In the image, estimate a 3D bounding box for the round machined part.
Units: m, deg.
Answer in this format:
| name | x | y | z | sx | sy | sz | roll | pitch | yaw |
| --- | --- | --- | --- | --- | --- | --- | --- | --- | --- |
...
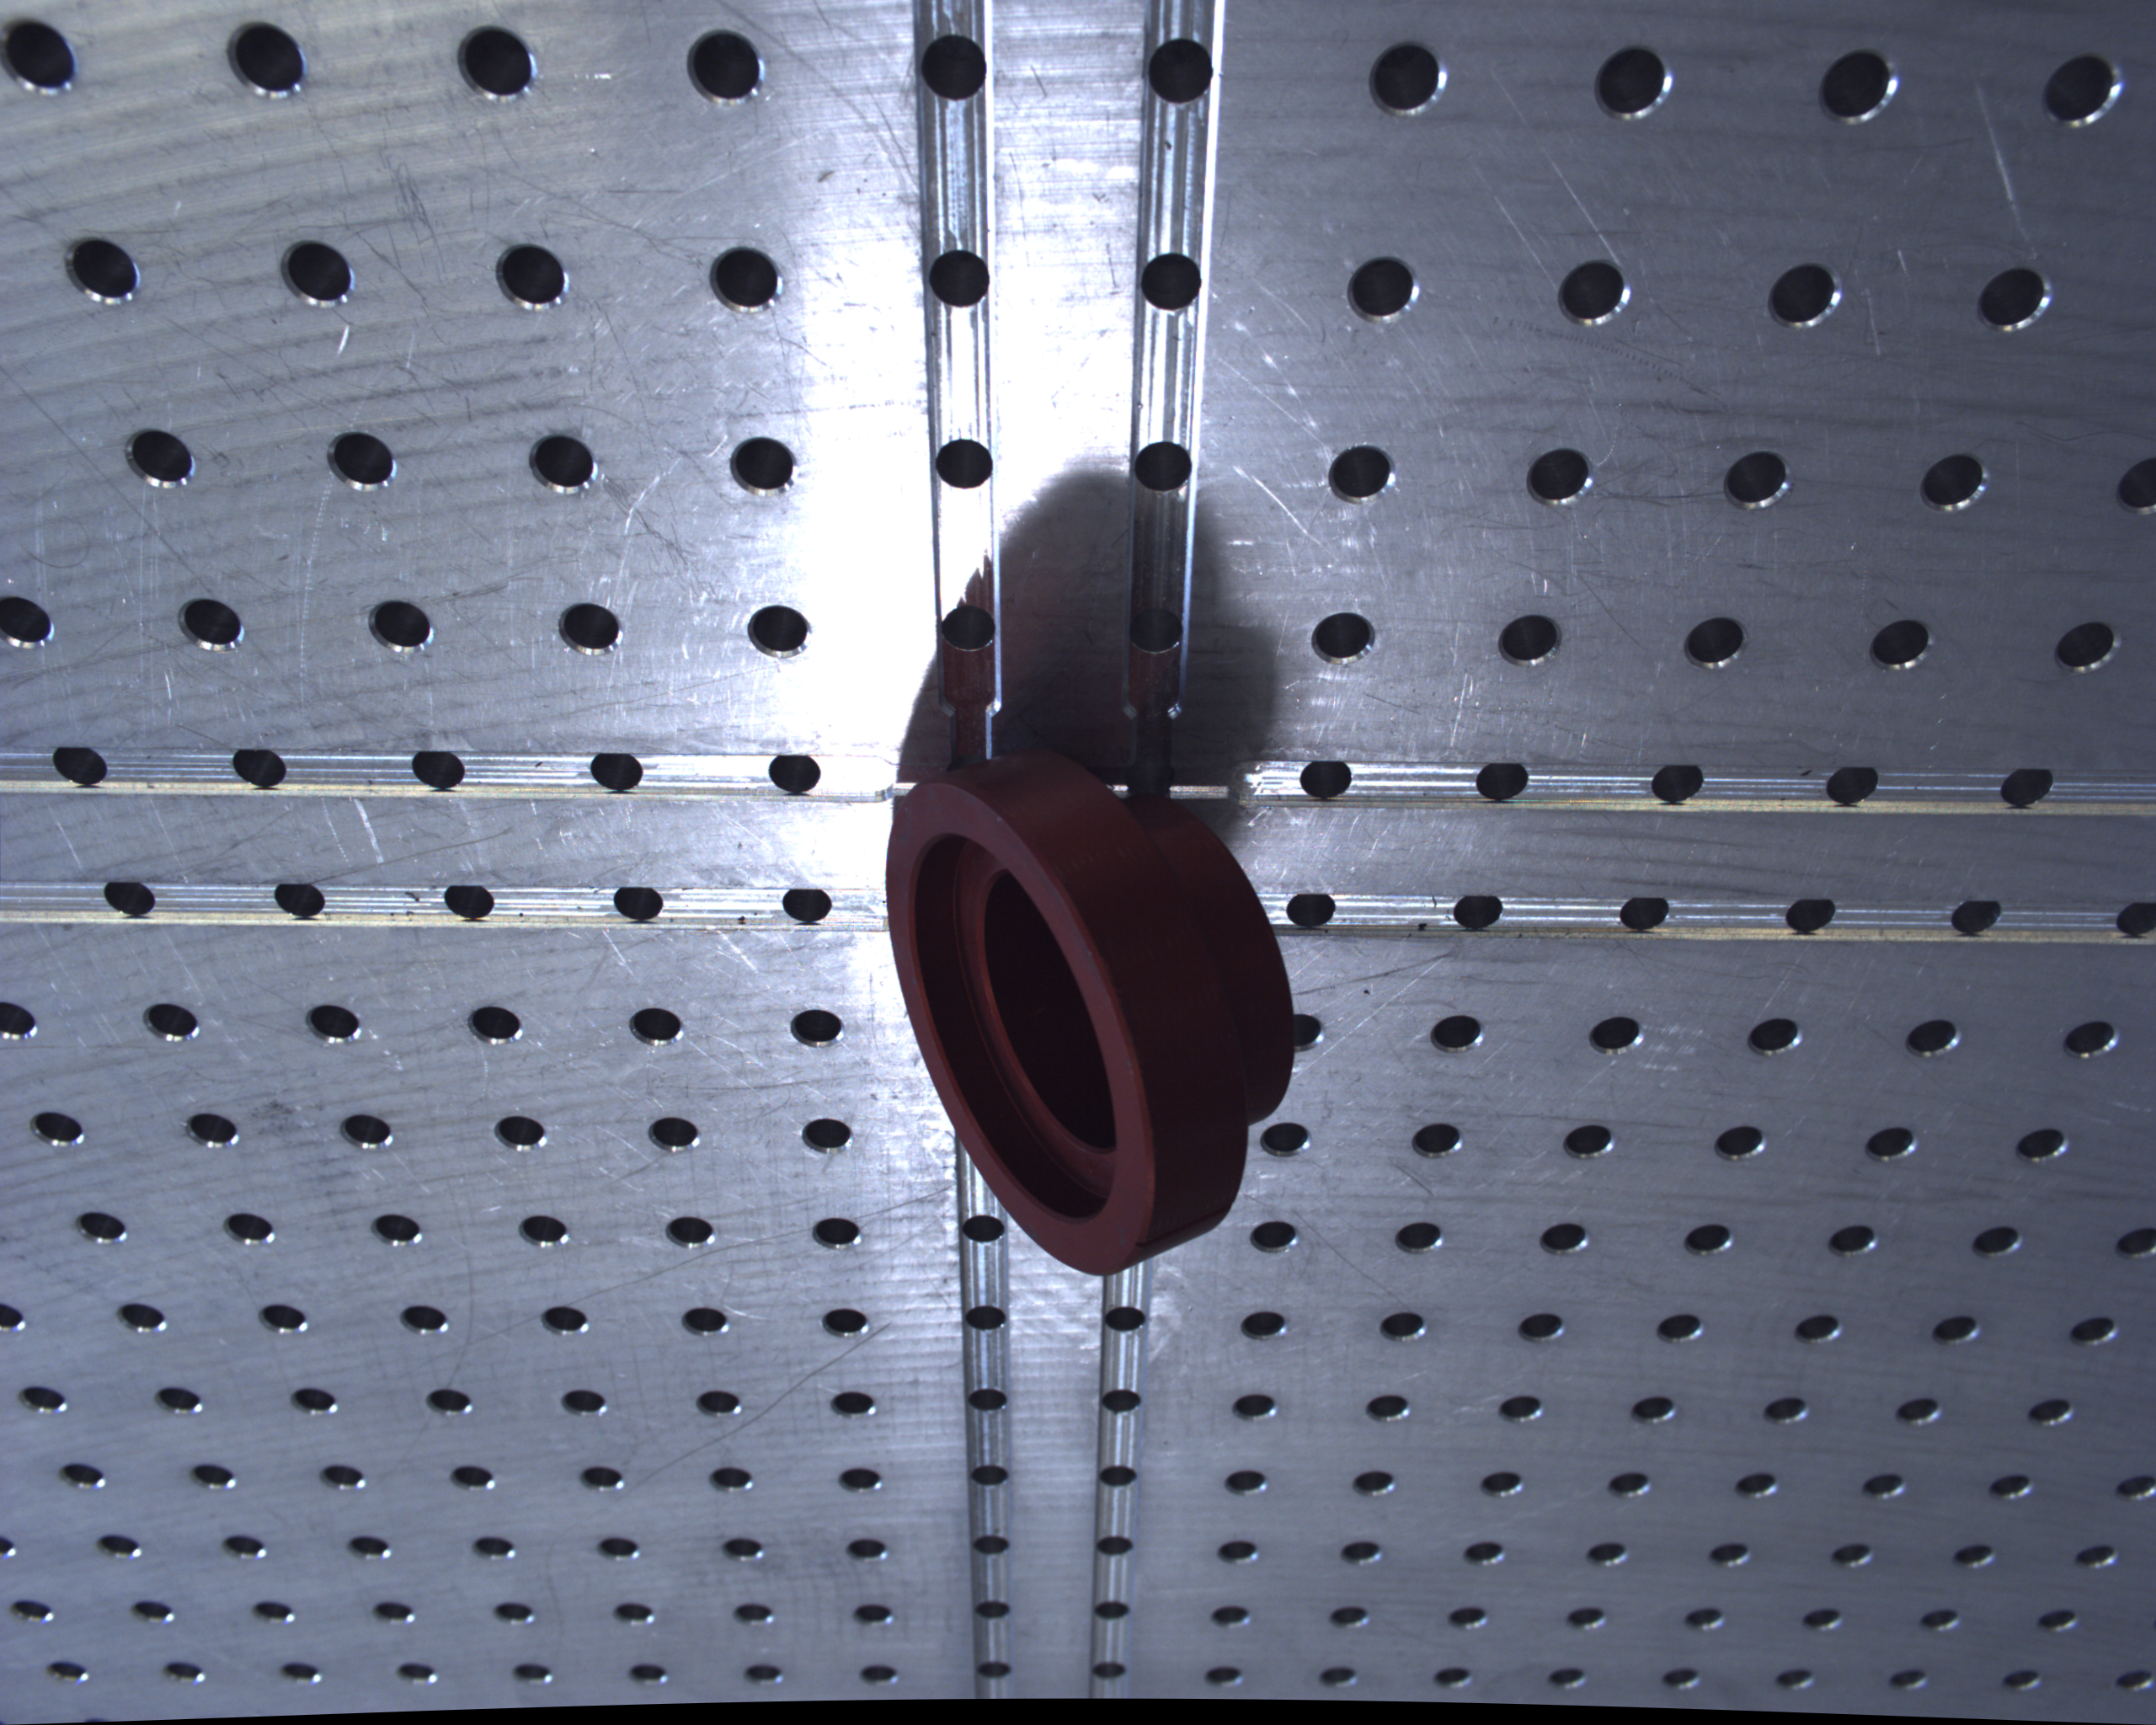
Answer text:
| name | x | y | z | sx | sy | sz | roll | pitch | yaw |
| --- | --- | --- | --- | --- | --- | --- | --- | --- | --- |
| round machined part | 0.005 | 0.025 | 0.397 | 0.042 | 0.098 | 0.097 | -19 | 136 | -25 |
